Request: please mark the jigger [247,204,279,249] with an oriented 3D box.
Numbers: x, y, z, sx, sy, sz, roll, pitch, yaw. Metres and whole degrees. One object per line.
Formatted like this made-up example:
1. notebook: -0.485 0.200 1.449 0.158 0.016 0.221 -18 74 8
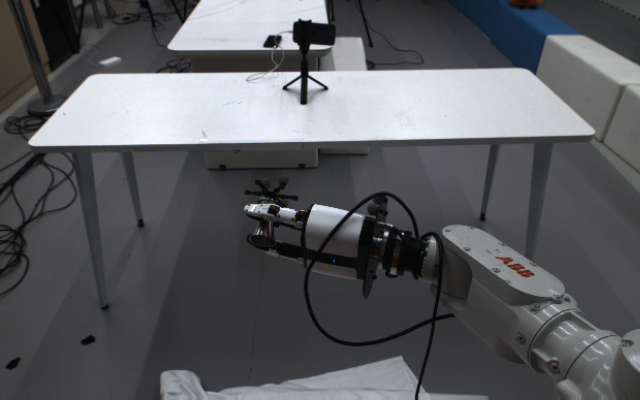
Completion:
1. jigger: -0.091 0.034 0.777 0.043 0.043 0.071 6 61 6
